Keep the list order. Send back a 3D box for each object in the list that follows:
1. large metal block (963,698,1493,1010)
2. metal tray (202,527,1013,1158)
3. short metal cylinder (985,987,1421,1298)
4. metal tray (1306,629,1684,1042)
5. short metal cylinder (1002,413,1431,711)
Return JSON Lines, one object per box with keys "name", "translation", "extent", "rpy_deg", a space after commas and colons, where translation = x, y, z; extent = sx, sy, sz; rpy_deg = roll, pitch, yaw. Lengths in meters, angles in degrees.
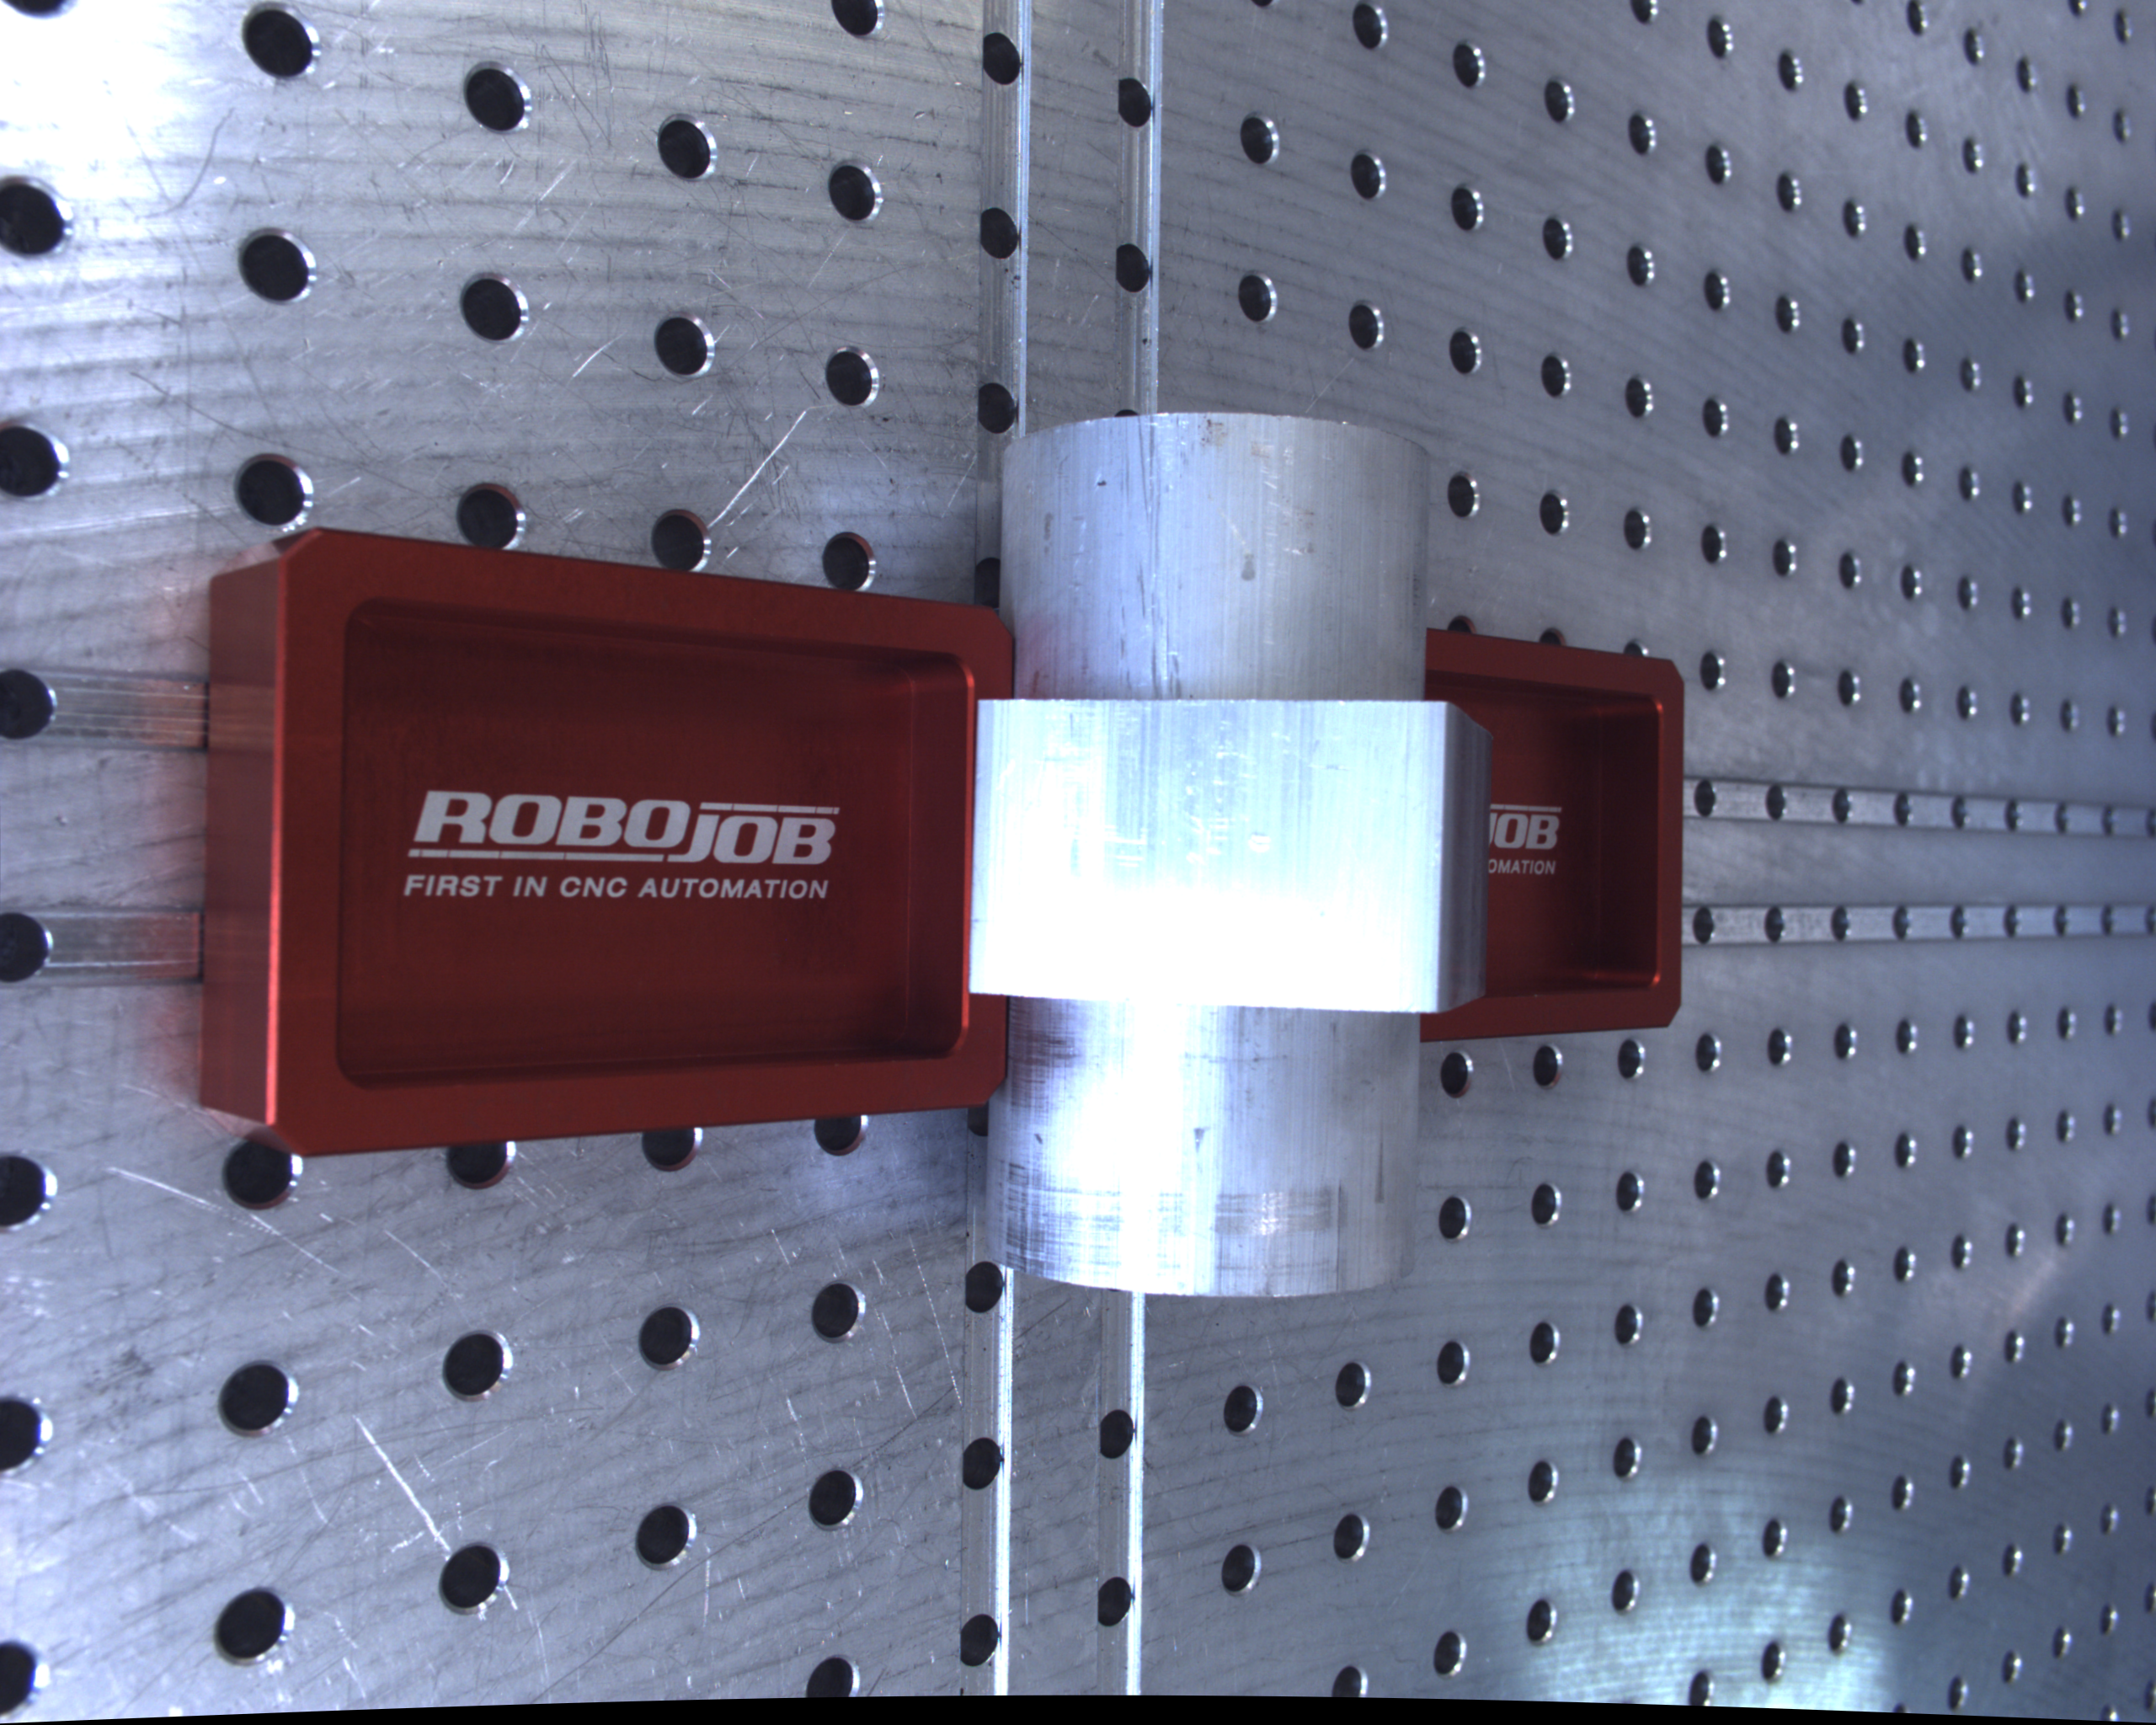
{"name": "large metal block", "translation": [0.031, -0.001, 0.380], "extent": [0.080, 0.080, 0.050], "rpy_deg": [7, 85, -74]}
{"name": "metal tray", "translation": [-0.072, -0.002, 0.345], "extent": [0.131, 0.030, 0.089], "rpy_deg": [1, 89, -40]}
{"name": "short metal cylinder", "translation": [0.023, 0.049, 0.393], "extent": [0.081, 0.080, 0.050], "rpy_deg": [2, 89, -40]}
{"name": "metal tray", "translation": [0.089, -0.006, 0.480], "extent": [0.131, 0.030, 0.089], "rpy_deg": [1, 89, -40]}
{"name": "short metal cylinder", "translation": [0.025, -0.051, 0.394], "extent": [0.081, 0.080, 0.050], "rpy_deg": [2, 89, -40]}
